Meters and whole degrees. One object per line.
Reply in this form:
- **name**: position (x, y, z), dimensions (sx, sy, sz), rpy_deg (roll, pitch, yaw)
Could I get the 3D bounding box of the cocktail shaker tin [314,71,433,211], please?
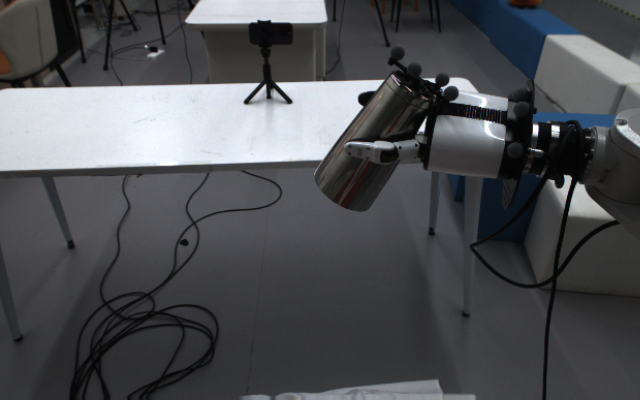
- **cocktail shaker tin**: position (0.074, -0.081, 0.629), dimensions (0.093, 0.170, 0.093), rpy_deg (26, 32, -17)
